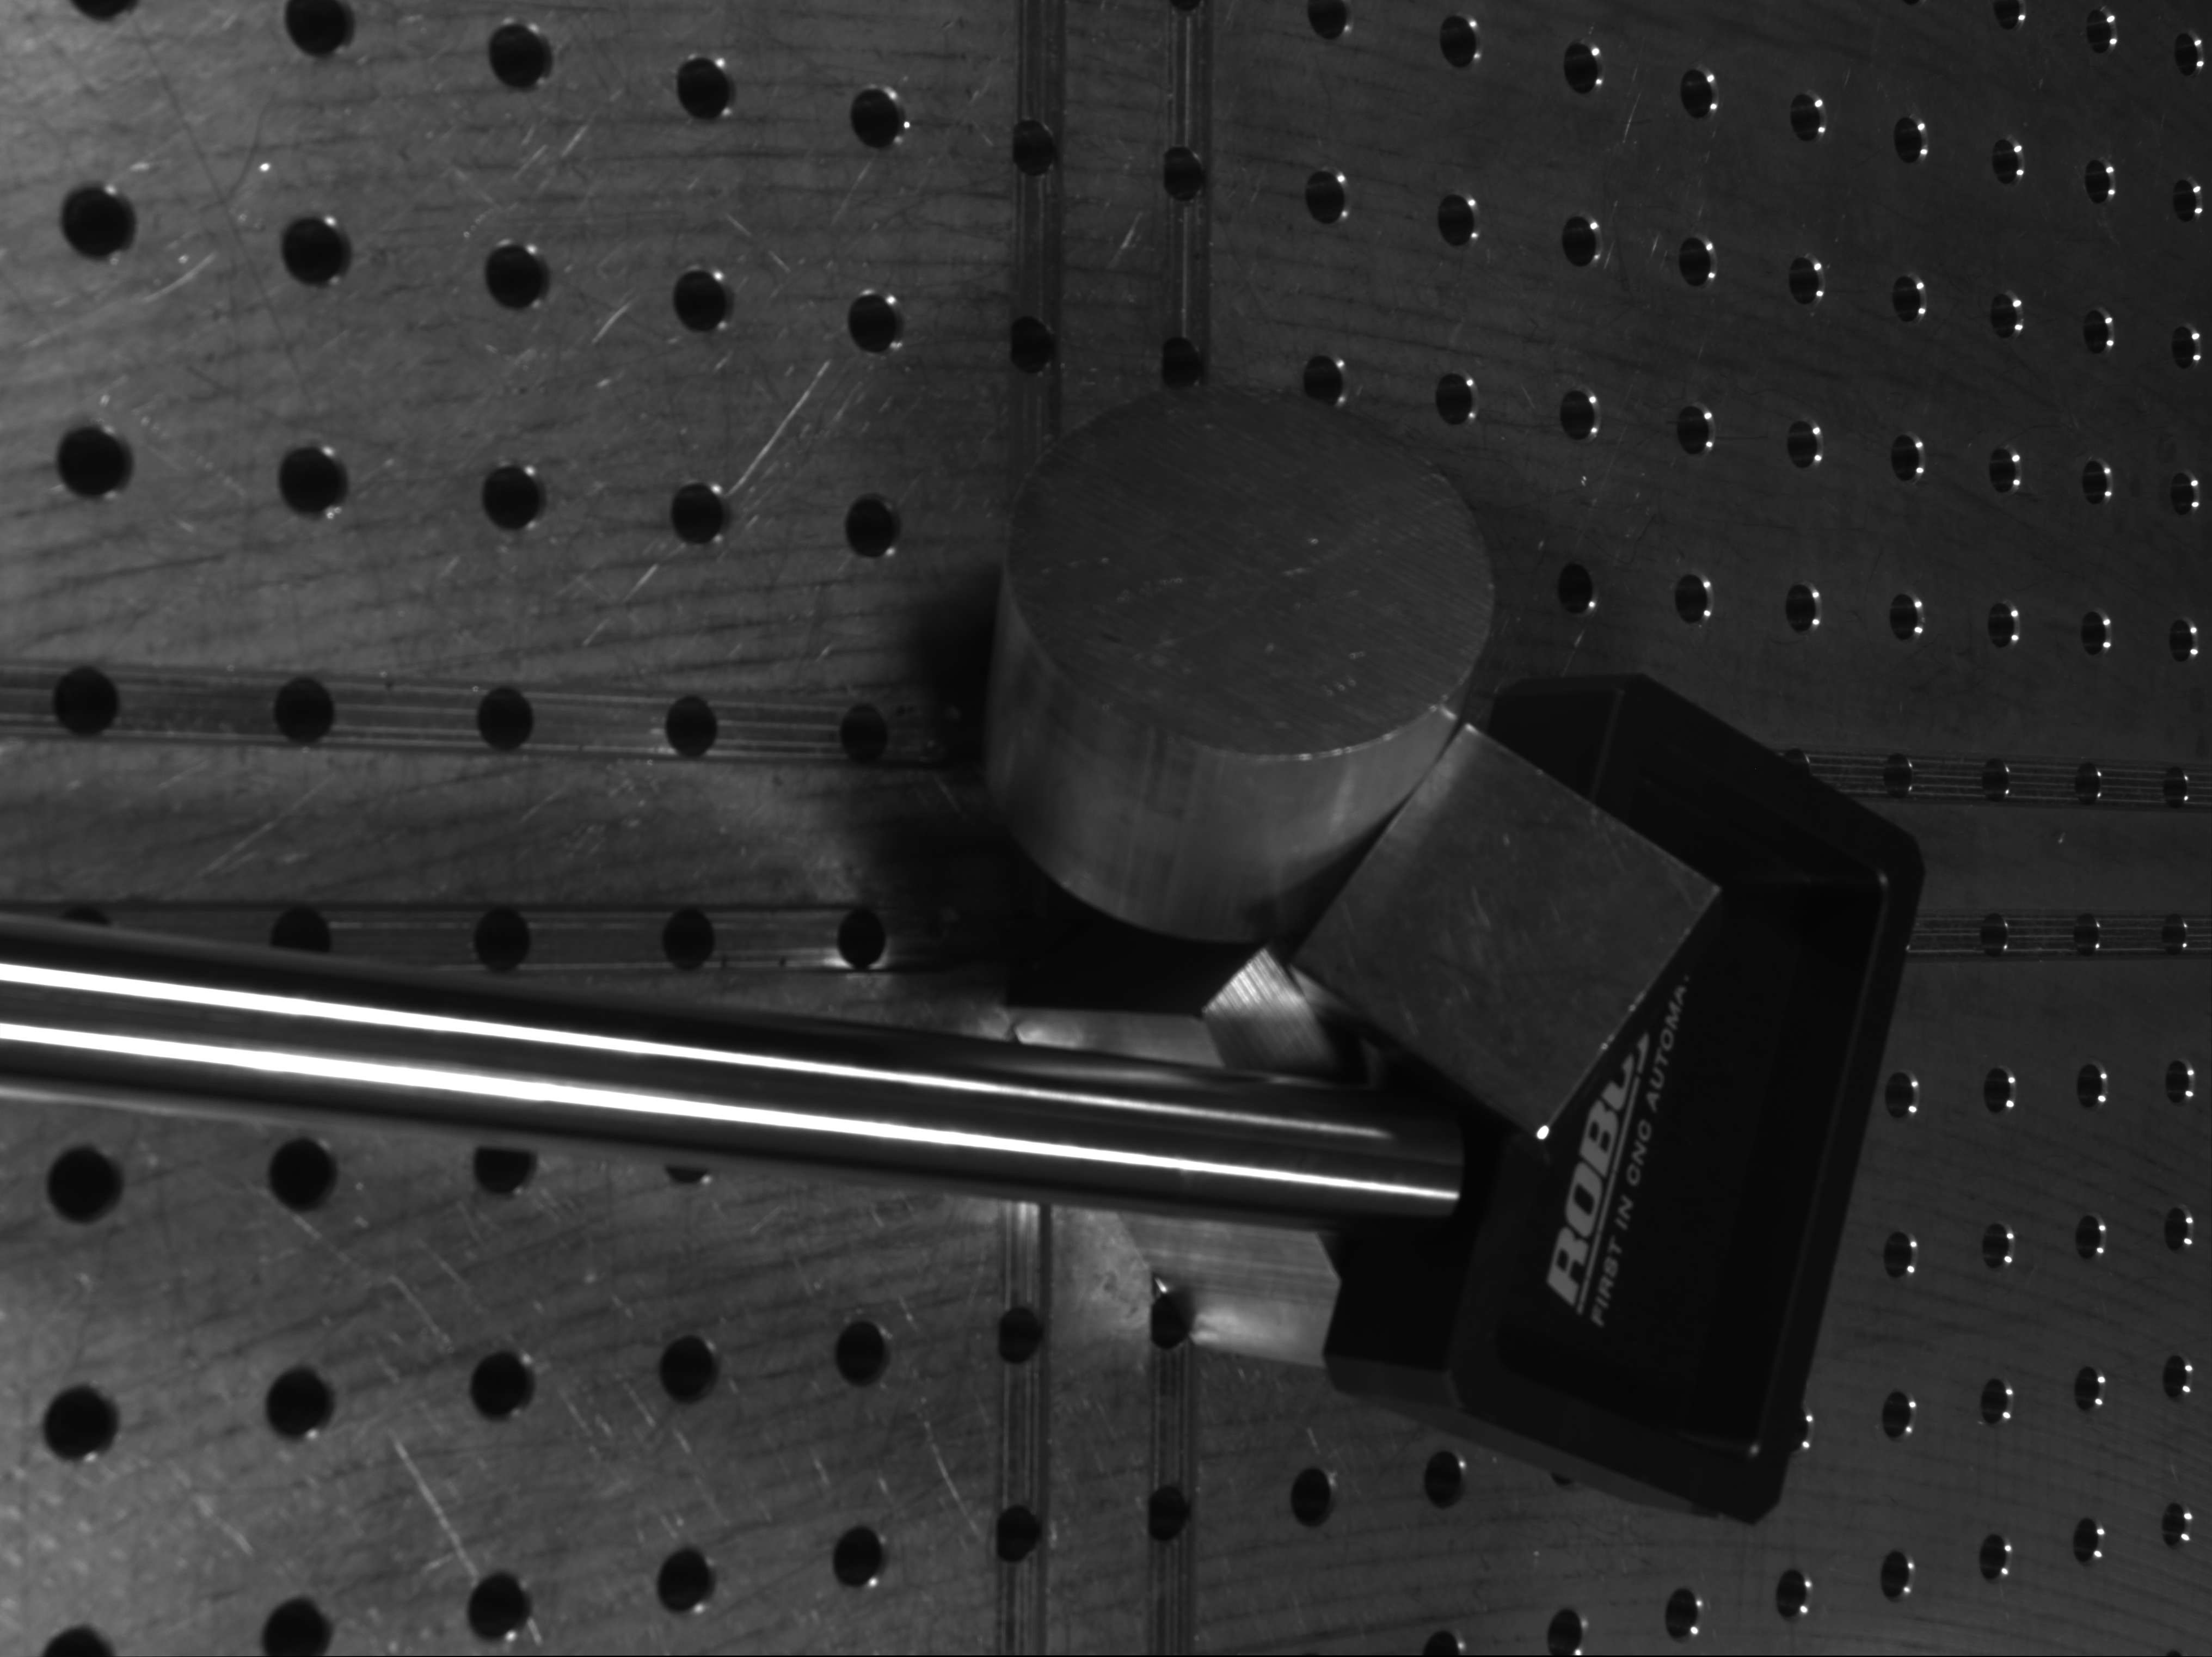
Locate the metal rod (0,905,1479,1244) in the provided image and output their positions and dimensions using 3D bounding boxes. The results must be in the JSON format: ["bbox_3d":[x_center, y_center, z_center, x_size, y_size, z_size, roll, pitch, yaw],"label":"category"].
[{"bbox_3d":[-0.076,0.035,0.539,0.301,0.025,0.025,9,84,-28],"label":"metal rod"}]

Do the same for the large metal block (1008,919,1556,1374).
[{"bbox_3d":[0.042,0.040,0.657,0.080,0.050,0.080,-42,116,-32],"label":"large metal block"}]

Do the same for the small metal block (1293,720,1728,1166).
[{"bbox_3d":[0.067,0.019,0.602,0.050,0.050,0.025,-53,162,-7],"label":"small metal block"}]

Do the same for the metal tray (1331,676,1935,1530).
[{"bbox_3d":[0.096,0.049,0.648,0.090,0.030,0.130,26,73,-37],"label":"metal tray"}]

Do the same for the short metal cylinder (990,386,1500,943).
[{"bbox_3d":[0.022,-0.028,0.615,0.080,0.080,0.050,-42,158,-32],"label":"short metal cylinder"}]
